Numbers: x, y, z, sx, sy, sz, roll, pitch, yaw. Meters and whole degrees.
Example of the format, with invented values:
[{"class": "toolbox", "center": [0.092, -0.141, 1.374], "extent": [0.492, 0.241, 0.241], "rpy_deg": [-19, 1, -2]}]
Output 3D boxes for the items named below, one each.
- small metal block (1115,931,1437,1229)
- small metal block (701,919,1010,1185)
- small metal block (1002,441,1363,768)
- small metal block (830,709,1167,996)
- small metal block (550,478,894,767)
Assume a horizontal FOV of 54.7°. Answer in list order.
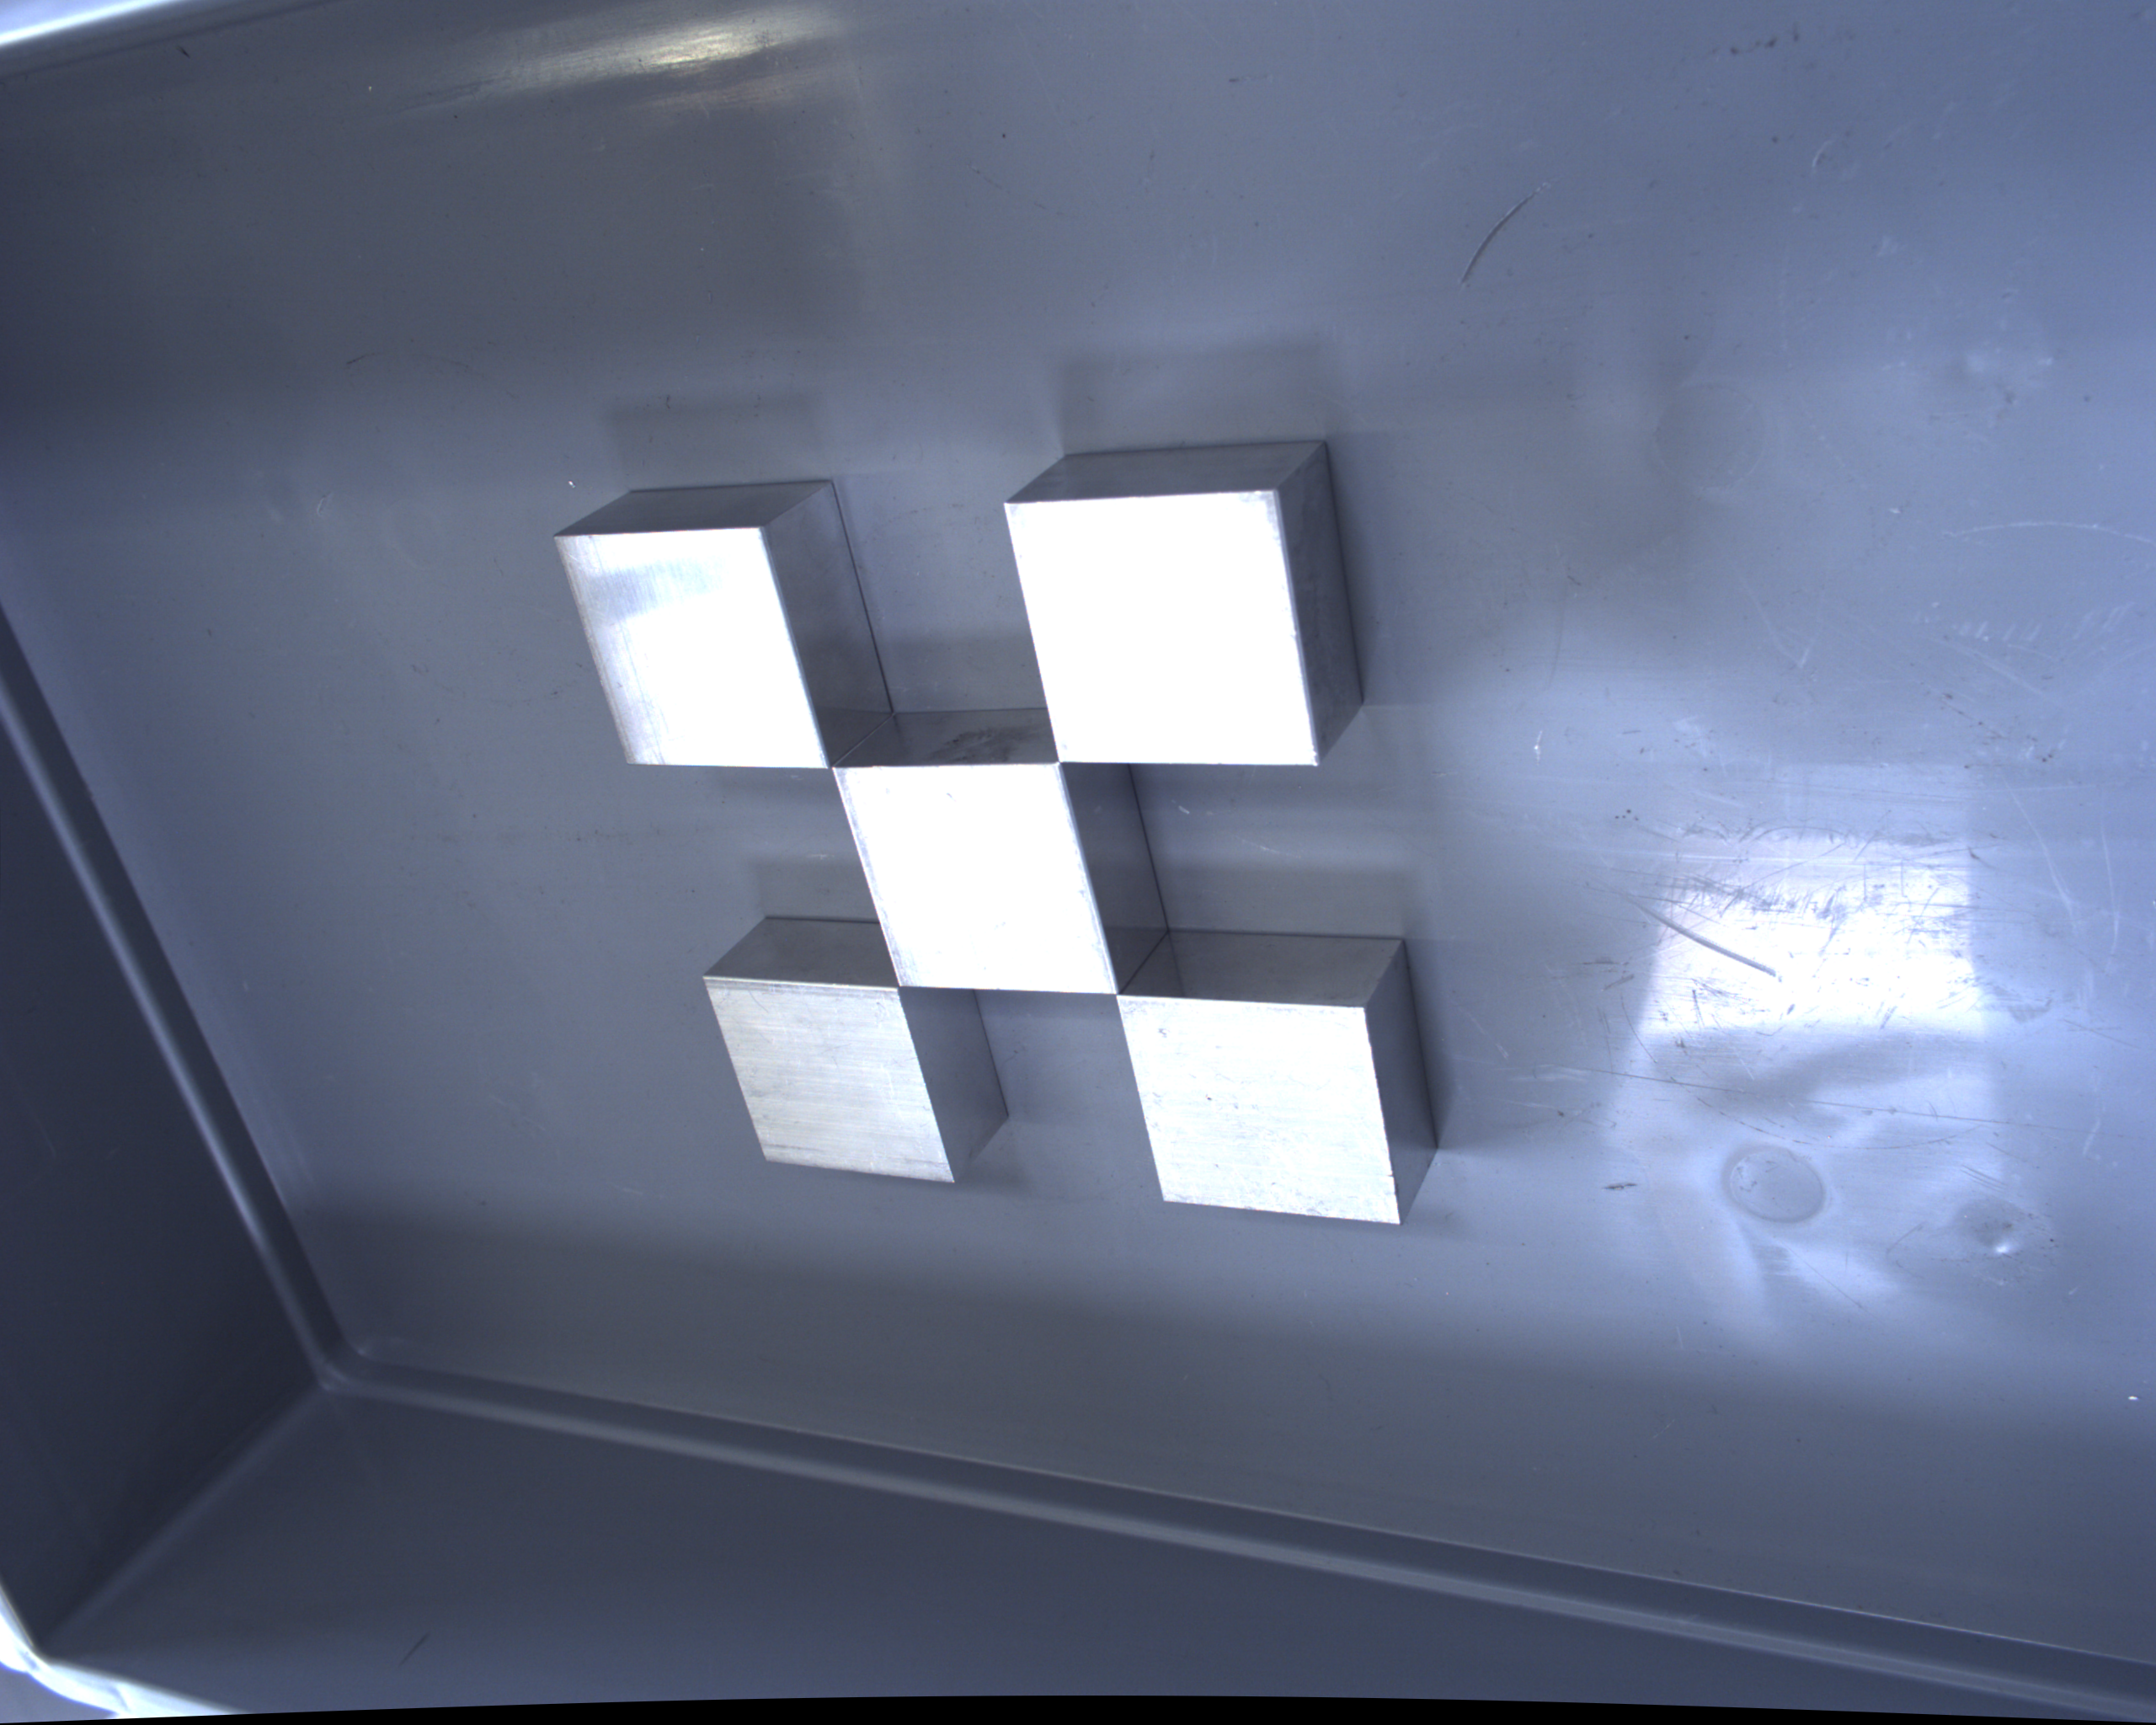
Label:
[{"class": "small metal block", "center": [0.040, 0.042, 0.411], "extent": [0.050, 0.025, 0.050], "rpy_deg": [1, 119, 27]}, {"class": "small metal block", "center": [-0.048, 0.041, 0.457], "extent": [0.050, 0.025, 0.050], "rpy_deg": [1, 119, 28]}, {"class": "small metal block", "center": [0.019, -0.045, 0.368], "extent": [0.050, 0.025, 0.050], "rpy_deg": [2, 120, 27]}, {"class": "small metal block", "center": [-0.015, -0.002, 0.412], "extent": [0.050, 0.025, 0.050], "rpy_deg": [1, 119, 28]}, {"class": "small metal block", "center": [-0.070, -0.047, 0.414], "extent": [0.050, 0.025, 0.050], "rpy_deg": [2, 119, 27]}]
